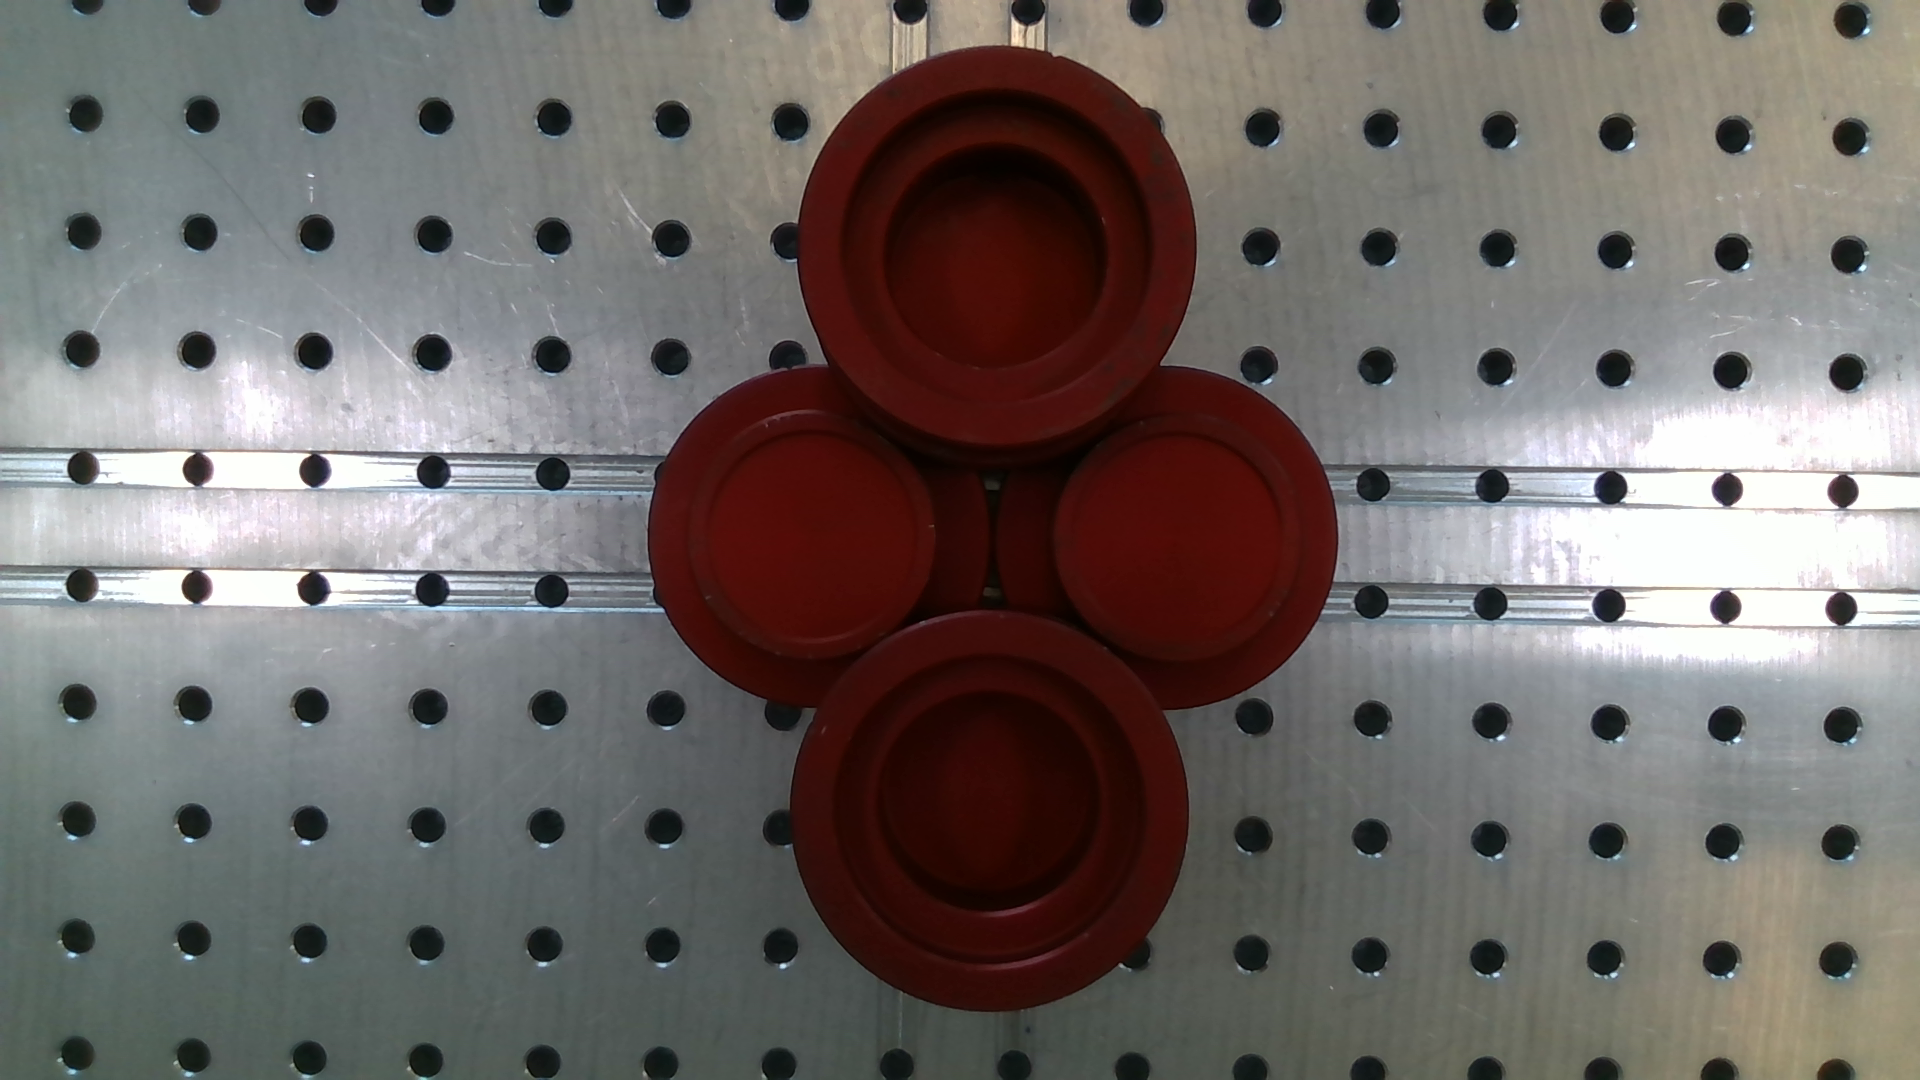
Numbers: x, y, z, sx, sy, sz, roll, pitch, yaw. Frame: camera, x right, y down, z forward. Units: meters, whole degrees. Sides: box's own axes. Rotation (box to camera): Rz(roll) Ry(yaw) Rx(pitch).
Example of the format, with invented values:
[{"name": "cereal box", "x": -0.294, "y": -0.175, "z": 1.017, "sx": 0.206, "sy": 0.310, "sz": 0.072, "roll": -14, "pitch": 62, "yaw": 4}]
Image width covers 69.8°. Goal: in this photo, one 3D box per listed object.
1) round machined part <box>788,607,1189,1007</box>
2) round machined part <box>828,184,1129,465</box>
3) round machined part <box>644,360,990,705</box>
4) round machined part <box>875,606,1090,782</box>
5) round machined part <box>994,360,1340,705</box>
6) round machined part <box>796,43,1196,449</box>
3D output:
[{"name": "round machined part", "x": 0.007, "y": 0.066, "z": 0.357, "sx": 0.098, "sy": 0.042, "sz": 0.098, "roll": 0, "pitch": 90, "yaw": 0}, {"name": "round machined part", "x": 0.008, "y": -0.070, "z": 0.388, "sx": 0.098, "sy": 0.042, "sz": 0.098, "roll": 0, "pitch": 90, "yaw": 0}, {"name": "round machined part", "x": -0.040, "y": -0.002, "z": 0.388, "sx": 0.098, "sy": 0.042, "sz": 0.098, "roll": 0, "pitch": 90, "yaw": 0}, {"name": "round machined part", "x": 0.008, "y": 0.066, "z": 0.389, "sx": 0.098, "sy": 0.042, "sz": 0.098, "roll": 0, "pitch": 90, "yaw": 0}, {"name": "round machined part", "x": 0.059, "y": -0.002, "z": 0.389, "sx": 0.098, "sy": 0.042, "sz": 0.098, "roll": 0, "pitch": 90, "yaw": 0}, {"name": "round machined part", "x": 0.009, "y": -0.072, "z": 0.356, "sx": 0.098, "sy": 0.042, "sz": 0.098, "roll": 0, "pitch": 90, "yaw": 0}]
